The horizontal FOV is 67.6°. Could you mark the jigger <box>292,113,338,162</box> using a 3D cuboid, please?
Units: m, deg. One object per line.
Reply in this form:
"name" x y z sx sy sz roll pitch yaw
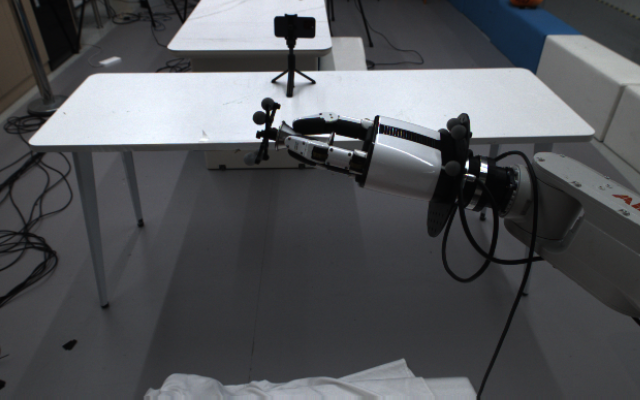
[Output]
"jigger" -0.013 -0.076 0.621 0.071 0.043 0.043 14 36 4
